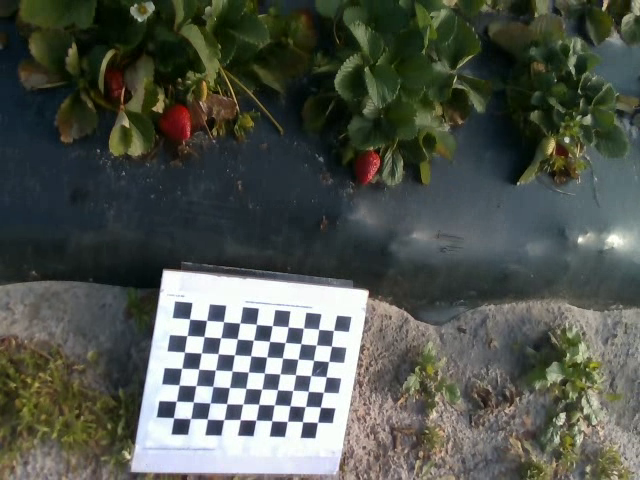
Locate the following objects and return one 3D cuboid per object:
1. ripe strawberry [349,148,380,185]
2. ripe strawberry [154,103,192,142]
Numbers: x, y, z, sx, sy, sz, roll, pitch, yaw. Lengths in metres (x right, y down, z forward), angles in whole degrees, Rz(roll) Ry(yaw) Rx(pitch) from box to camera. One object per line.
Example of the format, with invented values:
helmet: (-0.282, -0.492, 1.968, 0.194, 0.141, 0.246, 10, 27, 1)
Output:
ripe strawberry: (0.042, -0.064, 0.594, 0.029, 0.036, 0.021, 9, -6, -13)
ripe strawberry: (-0.119, -0.095, 0.533, 0.031, 0.030, 0.026, -31, -7, -14)
